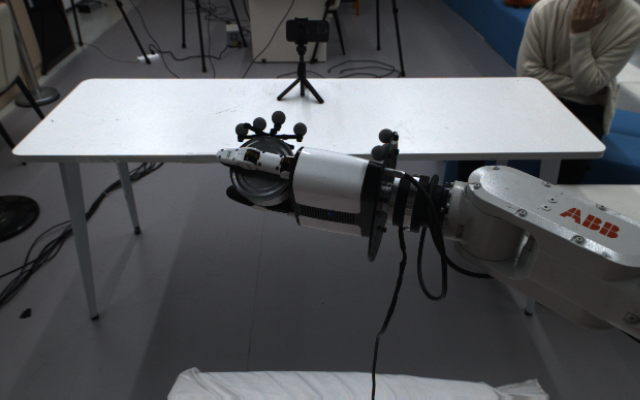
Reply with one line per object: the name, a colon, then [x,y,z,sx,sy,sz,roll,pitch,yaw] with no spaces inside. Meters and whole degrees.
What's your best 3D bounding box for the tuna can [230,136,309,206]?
tuna can: [-0.069,-0.036,0.621,0.085,0.034,0.085,-3,73,10]
